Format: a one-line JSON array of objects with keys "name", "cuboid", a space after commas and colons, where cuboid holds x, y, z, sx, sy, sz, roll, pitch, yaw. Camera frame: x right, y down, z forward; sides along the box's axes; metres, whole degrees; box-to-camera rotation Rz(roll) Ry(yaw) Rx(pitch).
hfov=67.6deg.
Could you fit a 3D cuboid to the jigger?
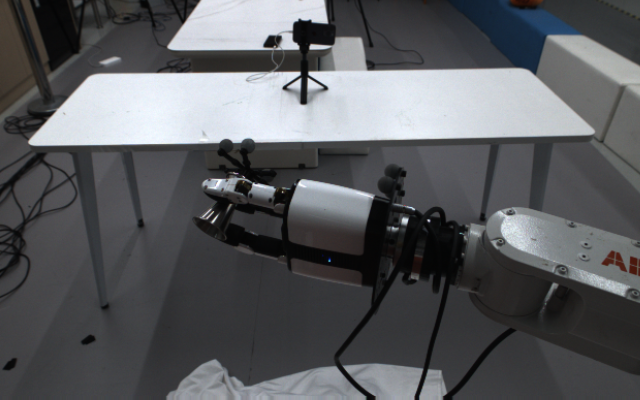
[{"name": "jigger", "cuboid": [-0.108, 0.004, 0.551, 0.043, 0.043, 0.071, 19, 62, 23]}]
